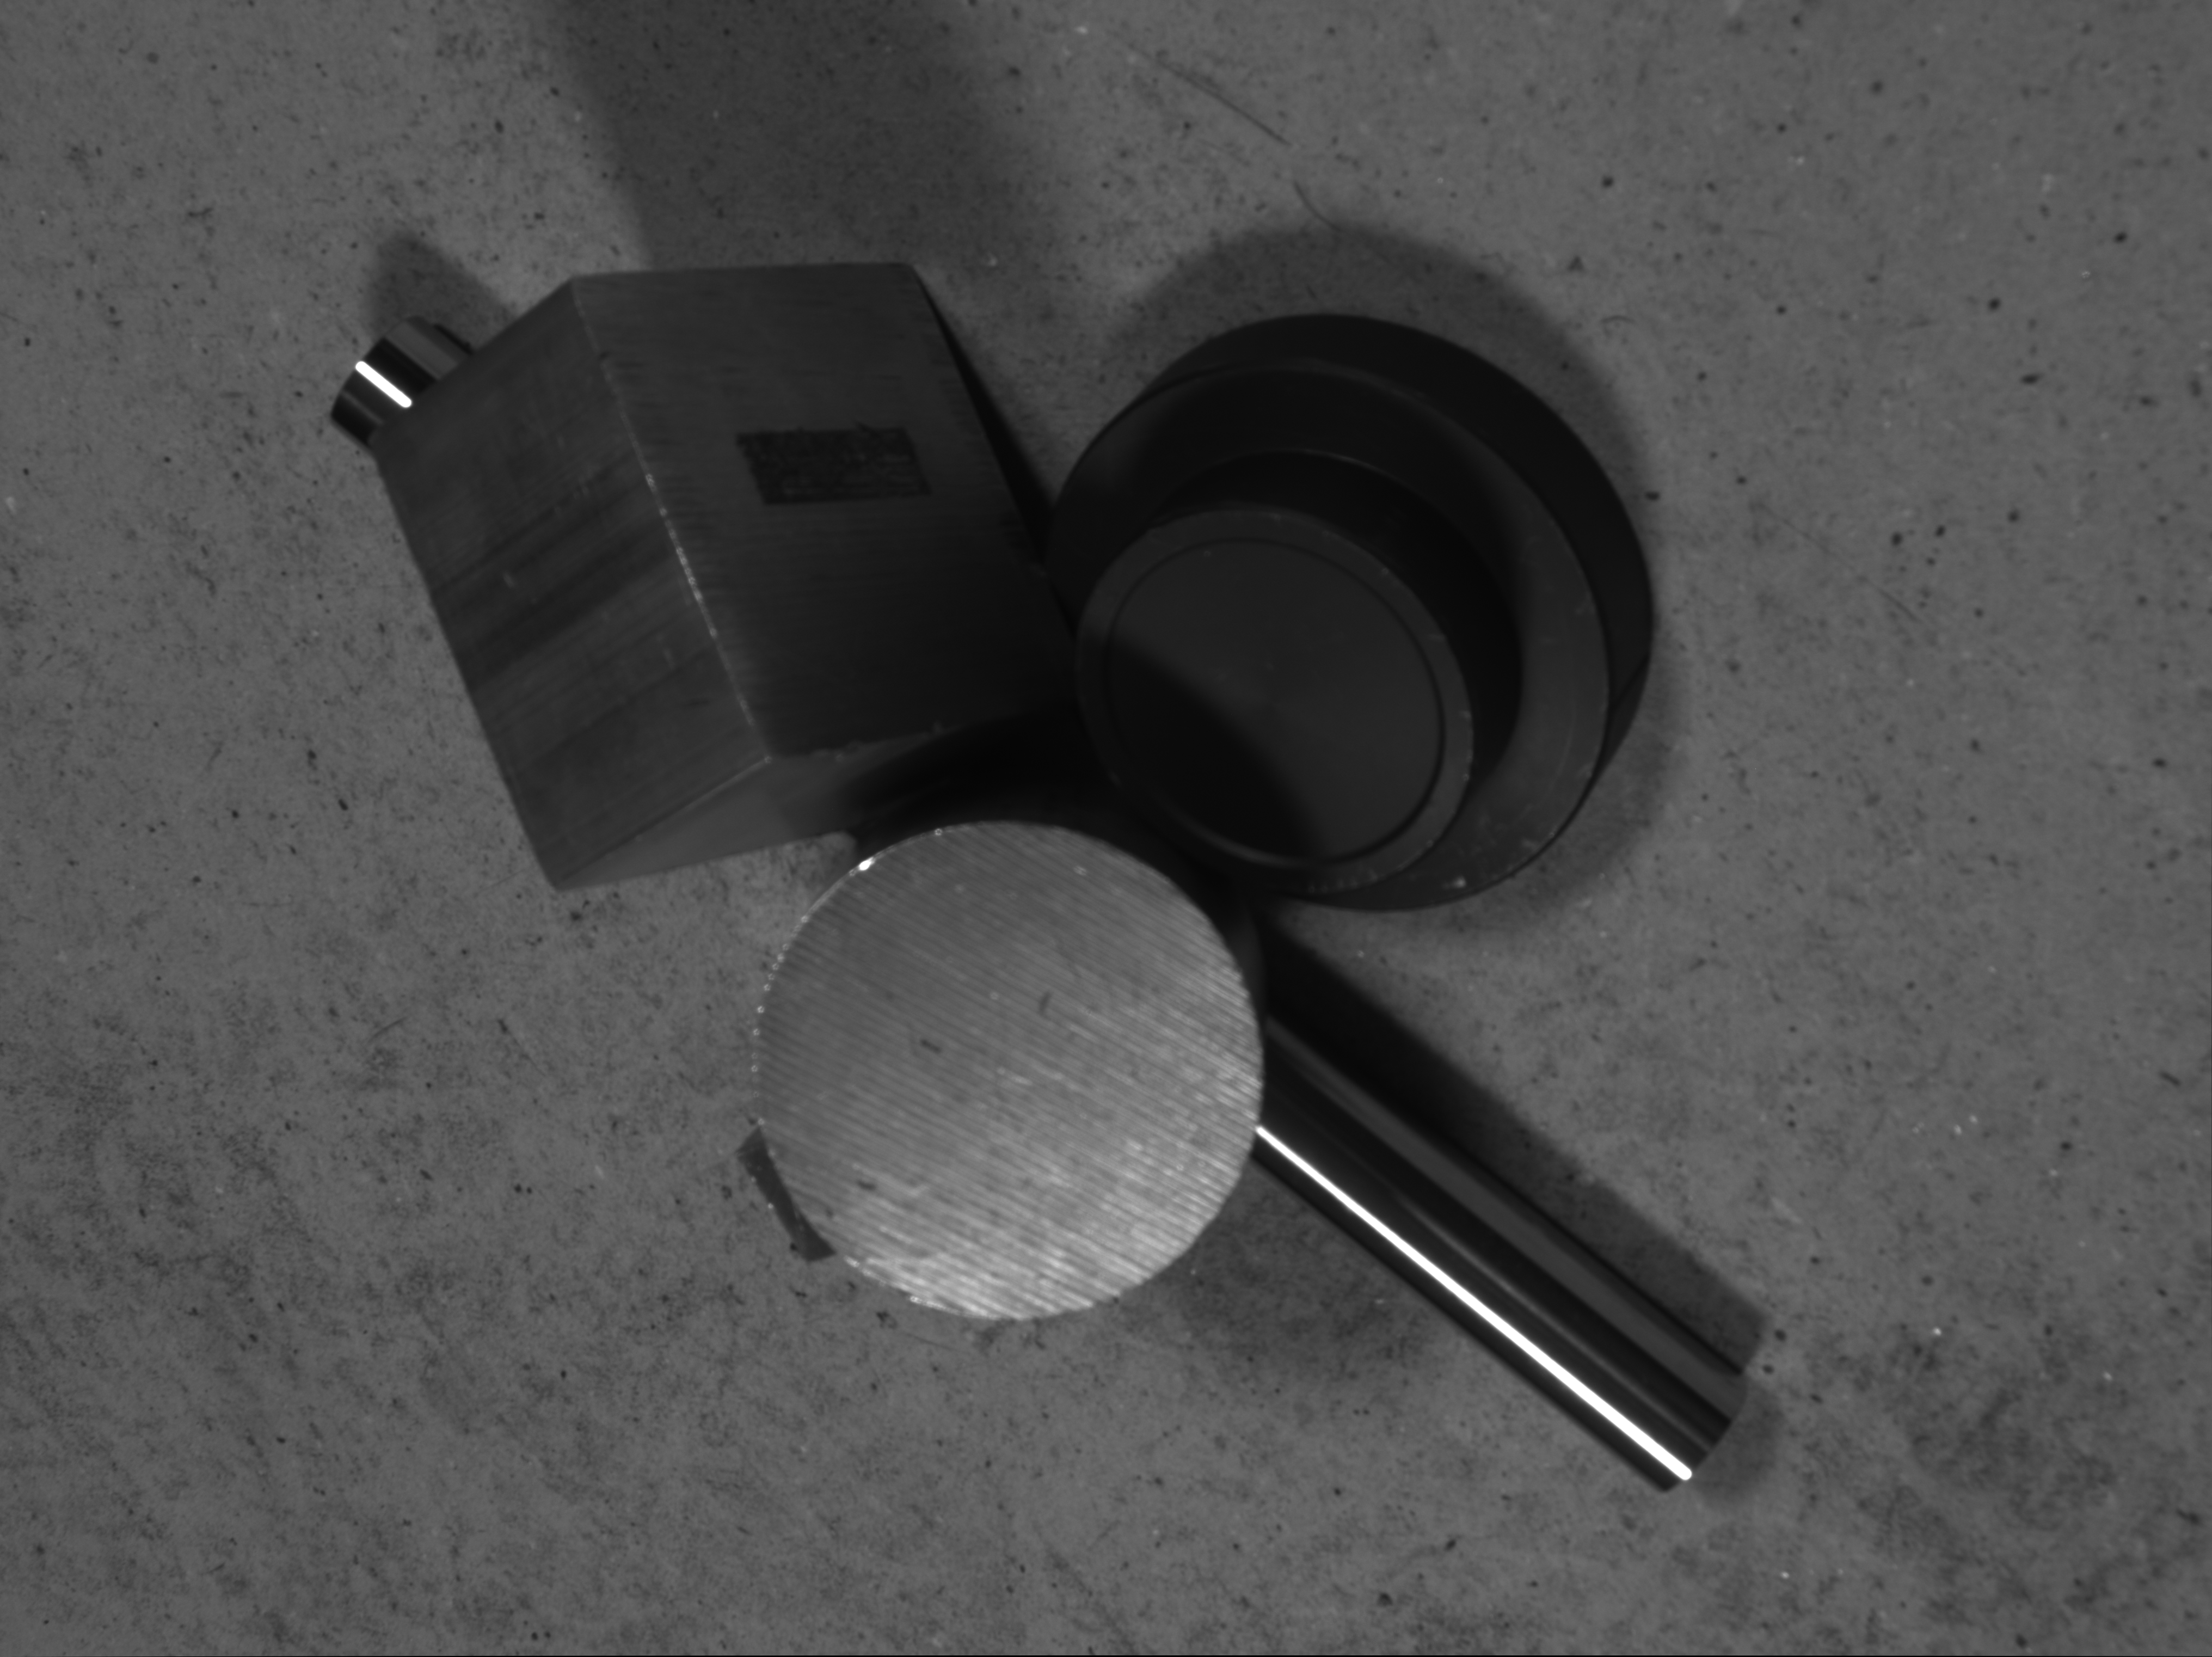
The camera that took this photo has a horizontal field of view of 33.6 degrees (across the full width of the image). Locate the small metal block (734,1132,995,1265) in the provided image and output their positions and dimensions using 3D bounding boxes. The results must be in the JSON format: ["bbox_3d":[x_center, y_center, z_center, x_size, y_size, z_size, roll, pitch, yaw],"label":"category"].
[{"bbox_3d":[-0.031,0.048,0.661,0.050,0.050,0.025,-23,105,34],"label":"small metal block"}]

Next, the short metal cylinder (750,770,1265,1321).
[{"bbox_3d":[-0.014,0.034,0.596,0.080,0.050,0.080,1,100,4],"label":"short metal cylinder"}]

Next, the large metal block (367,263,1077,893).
[{"bbox_3d":[-0.059,-0.042,0.587,0.050,0.080,0.080,-29,81,38],"label":"large metal block"}]

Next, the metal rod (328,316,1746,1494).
[{"bbox_3d":[-0.012,0.013,0.646,0.300,0.025,0.025,39,128,1],"label":"metal rod"}]

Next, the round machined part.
[{"bbox_3d":[0.034,-0.028,0.585,0.098,0.042,0.098,12,123,20],"label":"round machined part"}]
